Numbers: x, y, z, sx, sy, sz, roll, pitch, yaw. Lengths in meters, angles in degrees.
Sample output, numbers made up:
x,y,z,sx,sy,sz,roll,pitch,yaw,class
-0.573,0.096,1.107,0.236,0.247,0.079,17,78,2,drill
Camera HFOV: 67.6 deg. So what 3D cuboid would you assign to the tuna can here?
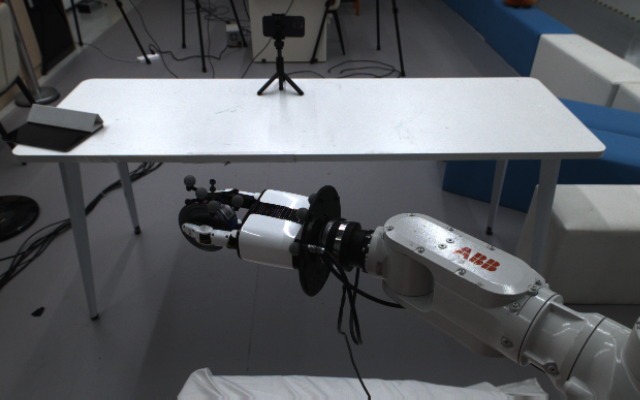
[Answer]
x,y,z,sx,sy,sz,roll,pitch,yaw,class
-0.169,0.036,0.741,0.085,0.085,0.034,12,29,15,tuna can
